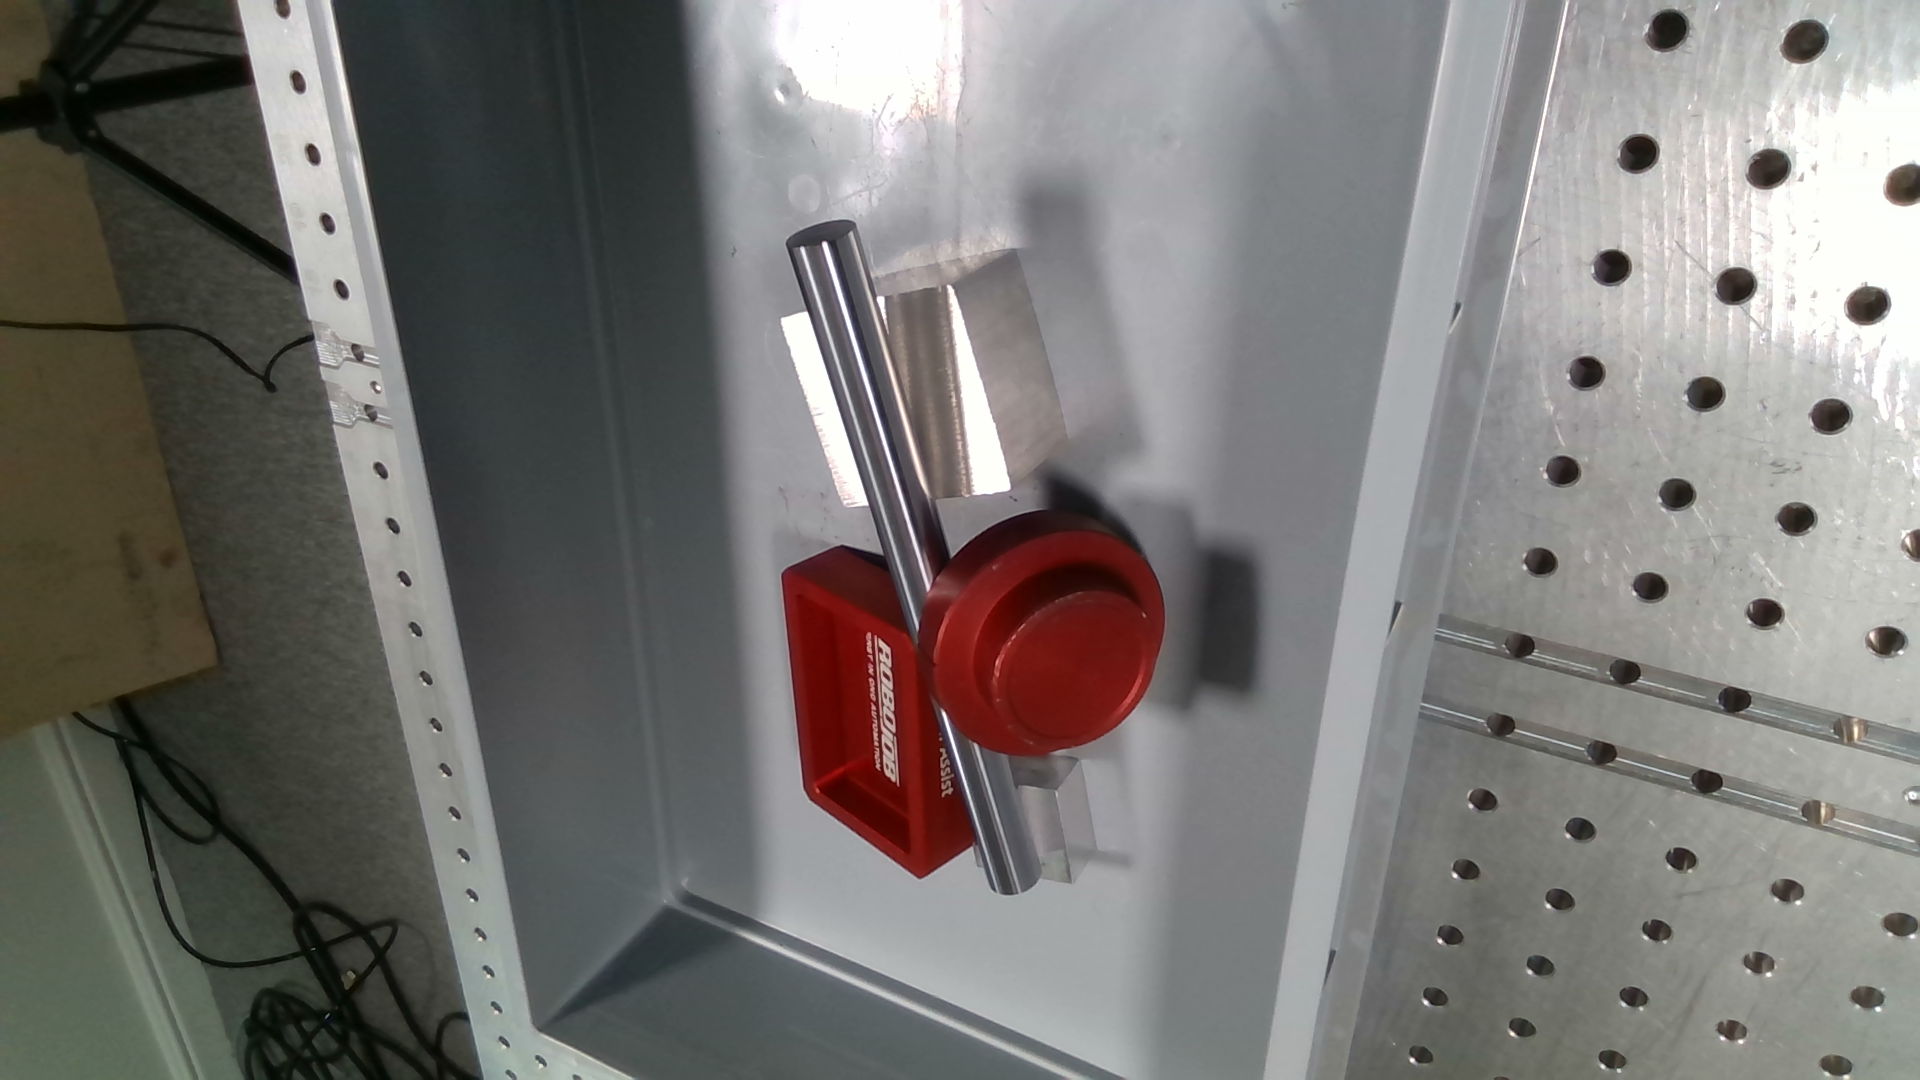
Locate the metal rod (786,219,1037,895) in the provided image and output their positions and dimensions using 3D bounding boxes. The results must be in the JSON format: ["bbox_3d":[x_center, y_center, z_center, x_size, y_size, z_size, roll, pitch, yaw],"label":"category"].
[{"bbox_3d":[-0.012,0.022,0.540,0.025,0.025,0.301,3,124,30],"label":"metal rod"}]

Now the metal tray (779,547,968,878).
[{"bbox_3d":[-0.038,0.078,0.623,0.090,0.030,0.130,26,129,41],"label":"metal tray"}]

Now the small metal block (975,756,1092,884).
[{"bbox_3d":[0.031,0.125,0.628,0.050,0.025,0.050,3,117,30],"label":"small metal block"}]

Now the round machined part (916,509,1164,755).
[{"bbox_3d":[0.036,0.041,0.529,0.042,0.098,0.098,-133,33,-58],"label":"round machined part"}]

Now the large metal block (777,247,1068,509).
[{"bbox_3d":[-0.014,-0.062,0.536,0.080,0.050,0.080,-4,113,33],"label":"large metal block"}]
